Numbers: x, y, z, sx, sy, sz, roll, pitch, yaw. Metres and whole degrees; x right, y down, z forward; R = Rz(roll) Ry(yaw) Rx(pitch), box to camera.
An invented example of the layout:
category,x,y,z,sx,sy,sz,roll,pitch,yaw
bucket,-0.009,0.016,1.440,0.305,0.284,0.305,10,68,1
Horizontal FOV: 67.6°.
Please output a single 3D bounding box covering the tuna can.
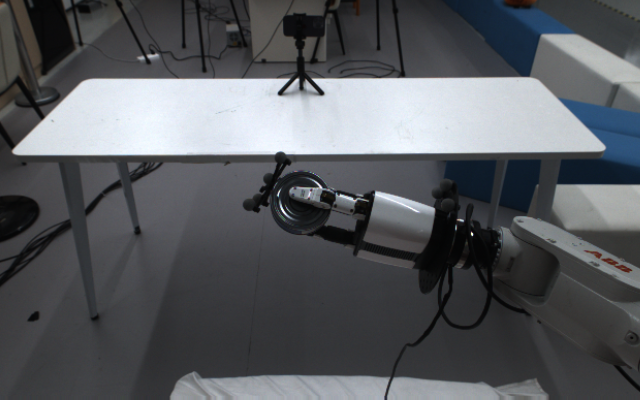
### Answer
category,x,y,z,sx,sy,sz,roll,pitch,yaw
tuna can,-0.023,0.007,0.661,0.085,0.034,0.085,1,76,-5
